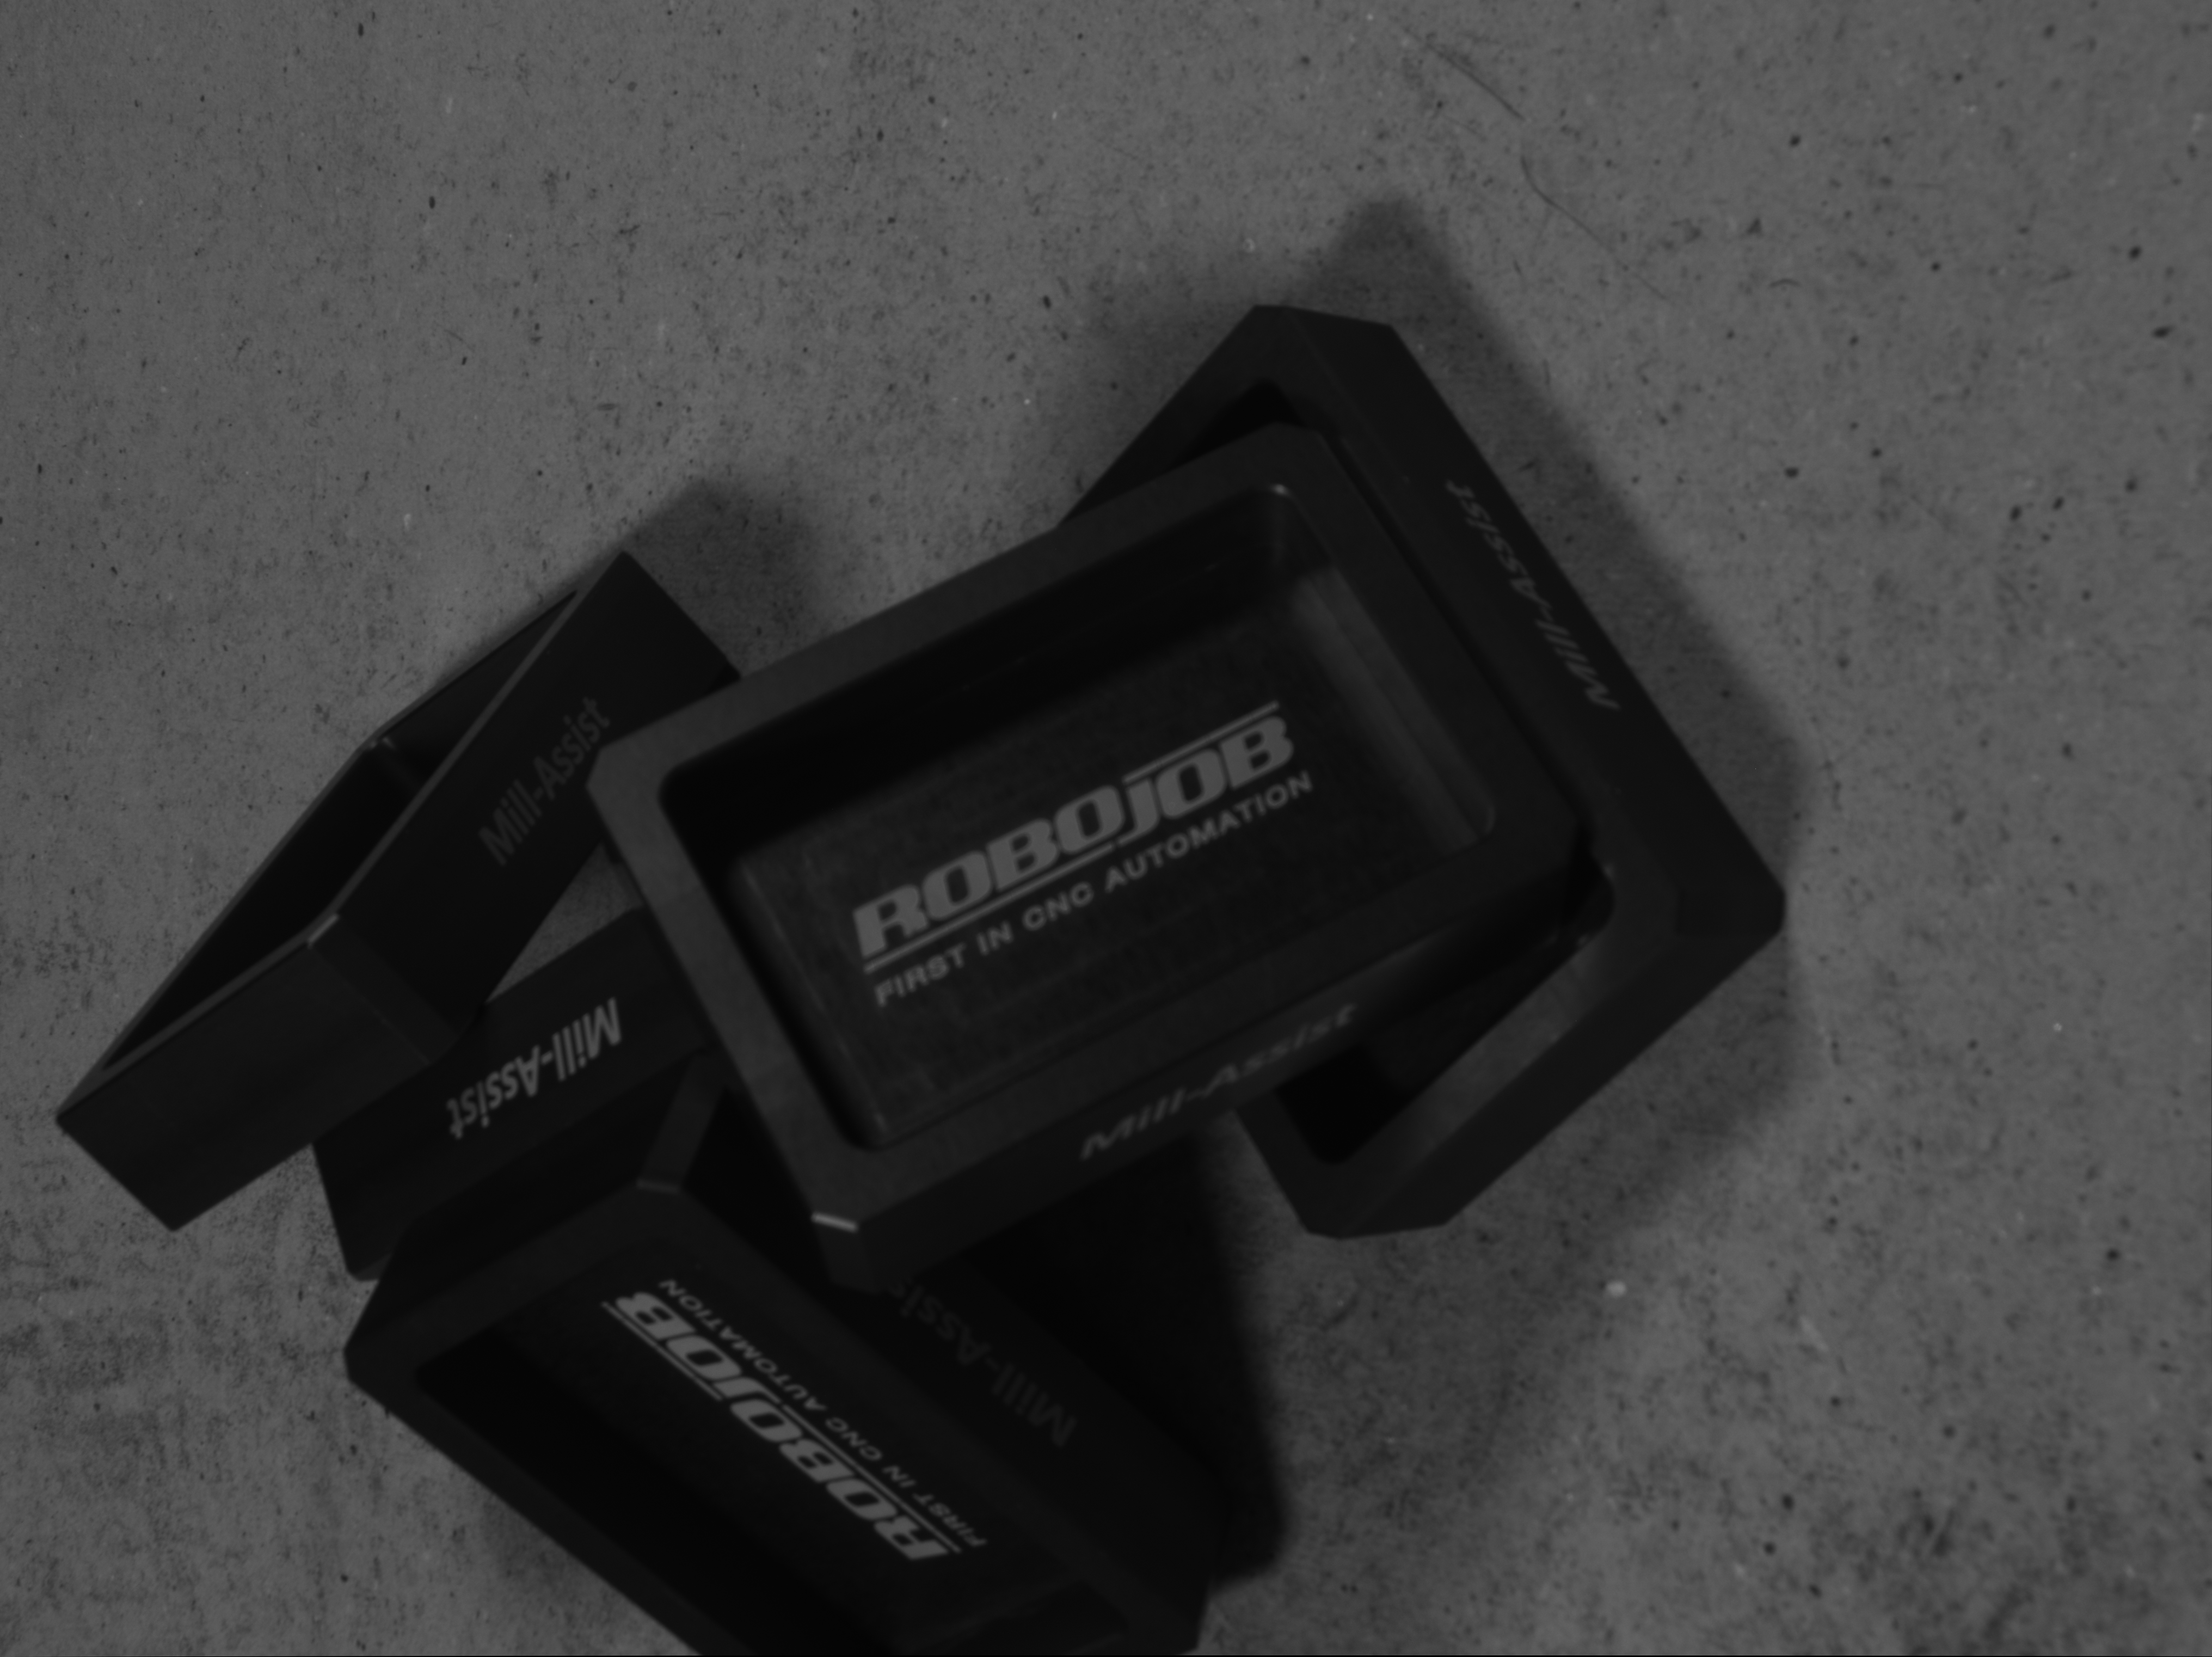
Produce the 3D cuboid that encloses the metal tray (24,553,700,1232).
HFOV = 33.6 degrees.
[{"bbox_3d":[-0.138,0.010,0.688,0.090,0.130,0.030,-31,109,35],"label":"metal tray"}]

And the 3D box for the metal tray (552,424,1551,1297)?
[{"bbox_3d":[-0.008,0.003,0.571,0.130,0.030,0.090,-27,67,-11],"label":"metal tray"}]

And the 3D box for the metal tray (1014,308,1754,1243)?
[{"bbox_3d":[0.036,-0.009,0.604,0.090,0.030,0.130,-46,63,30],"label":"metal tray"}]

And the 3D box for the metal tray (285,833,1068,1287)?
[{"bbox_3d":[-0.073,0.042,0.654,0.130,0.090,0.030,-31,71,35],"label":"metal tray"}]

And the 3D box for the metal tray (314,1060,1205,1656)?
[{"bbox_3d":[-0.058,0.105,0.627,0.090,0.030,0.130,-31,116,35],"label":"metal tray"}]
